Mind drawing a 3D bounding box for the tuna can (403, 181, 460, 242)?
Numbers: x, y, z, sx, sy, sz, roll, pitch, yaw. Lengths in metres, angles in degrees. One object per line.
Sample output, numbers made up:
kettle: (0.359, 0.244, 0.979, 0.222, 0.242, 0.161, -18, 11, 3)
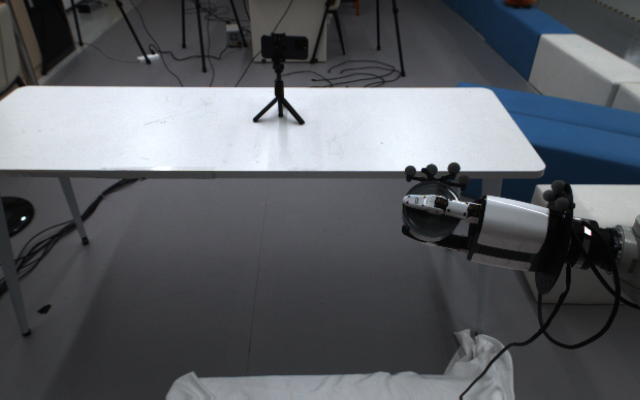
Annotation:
tuna can: (0.164, 0.014, 0.711, 0.085, 0.034, 0.085, -2, 70, 7)
